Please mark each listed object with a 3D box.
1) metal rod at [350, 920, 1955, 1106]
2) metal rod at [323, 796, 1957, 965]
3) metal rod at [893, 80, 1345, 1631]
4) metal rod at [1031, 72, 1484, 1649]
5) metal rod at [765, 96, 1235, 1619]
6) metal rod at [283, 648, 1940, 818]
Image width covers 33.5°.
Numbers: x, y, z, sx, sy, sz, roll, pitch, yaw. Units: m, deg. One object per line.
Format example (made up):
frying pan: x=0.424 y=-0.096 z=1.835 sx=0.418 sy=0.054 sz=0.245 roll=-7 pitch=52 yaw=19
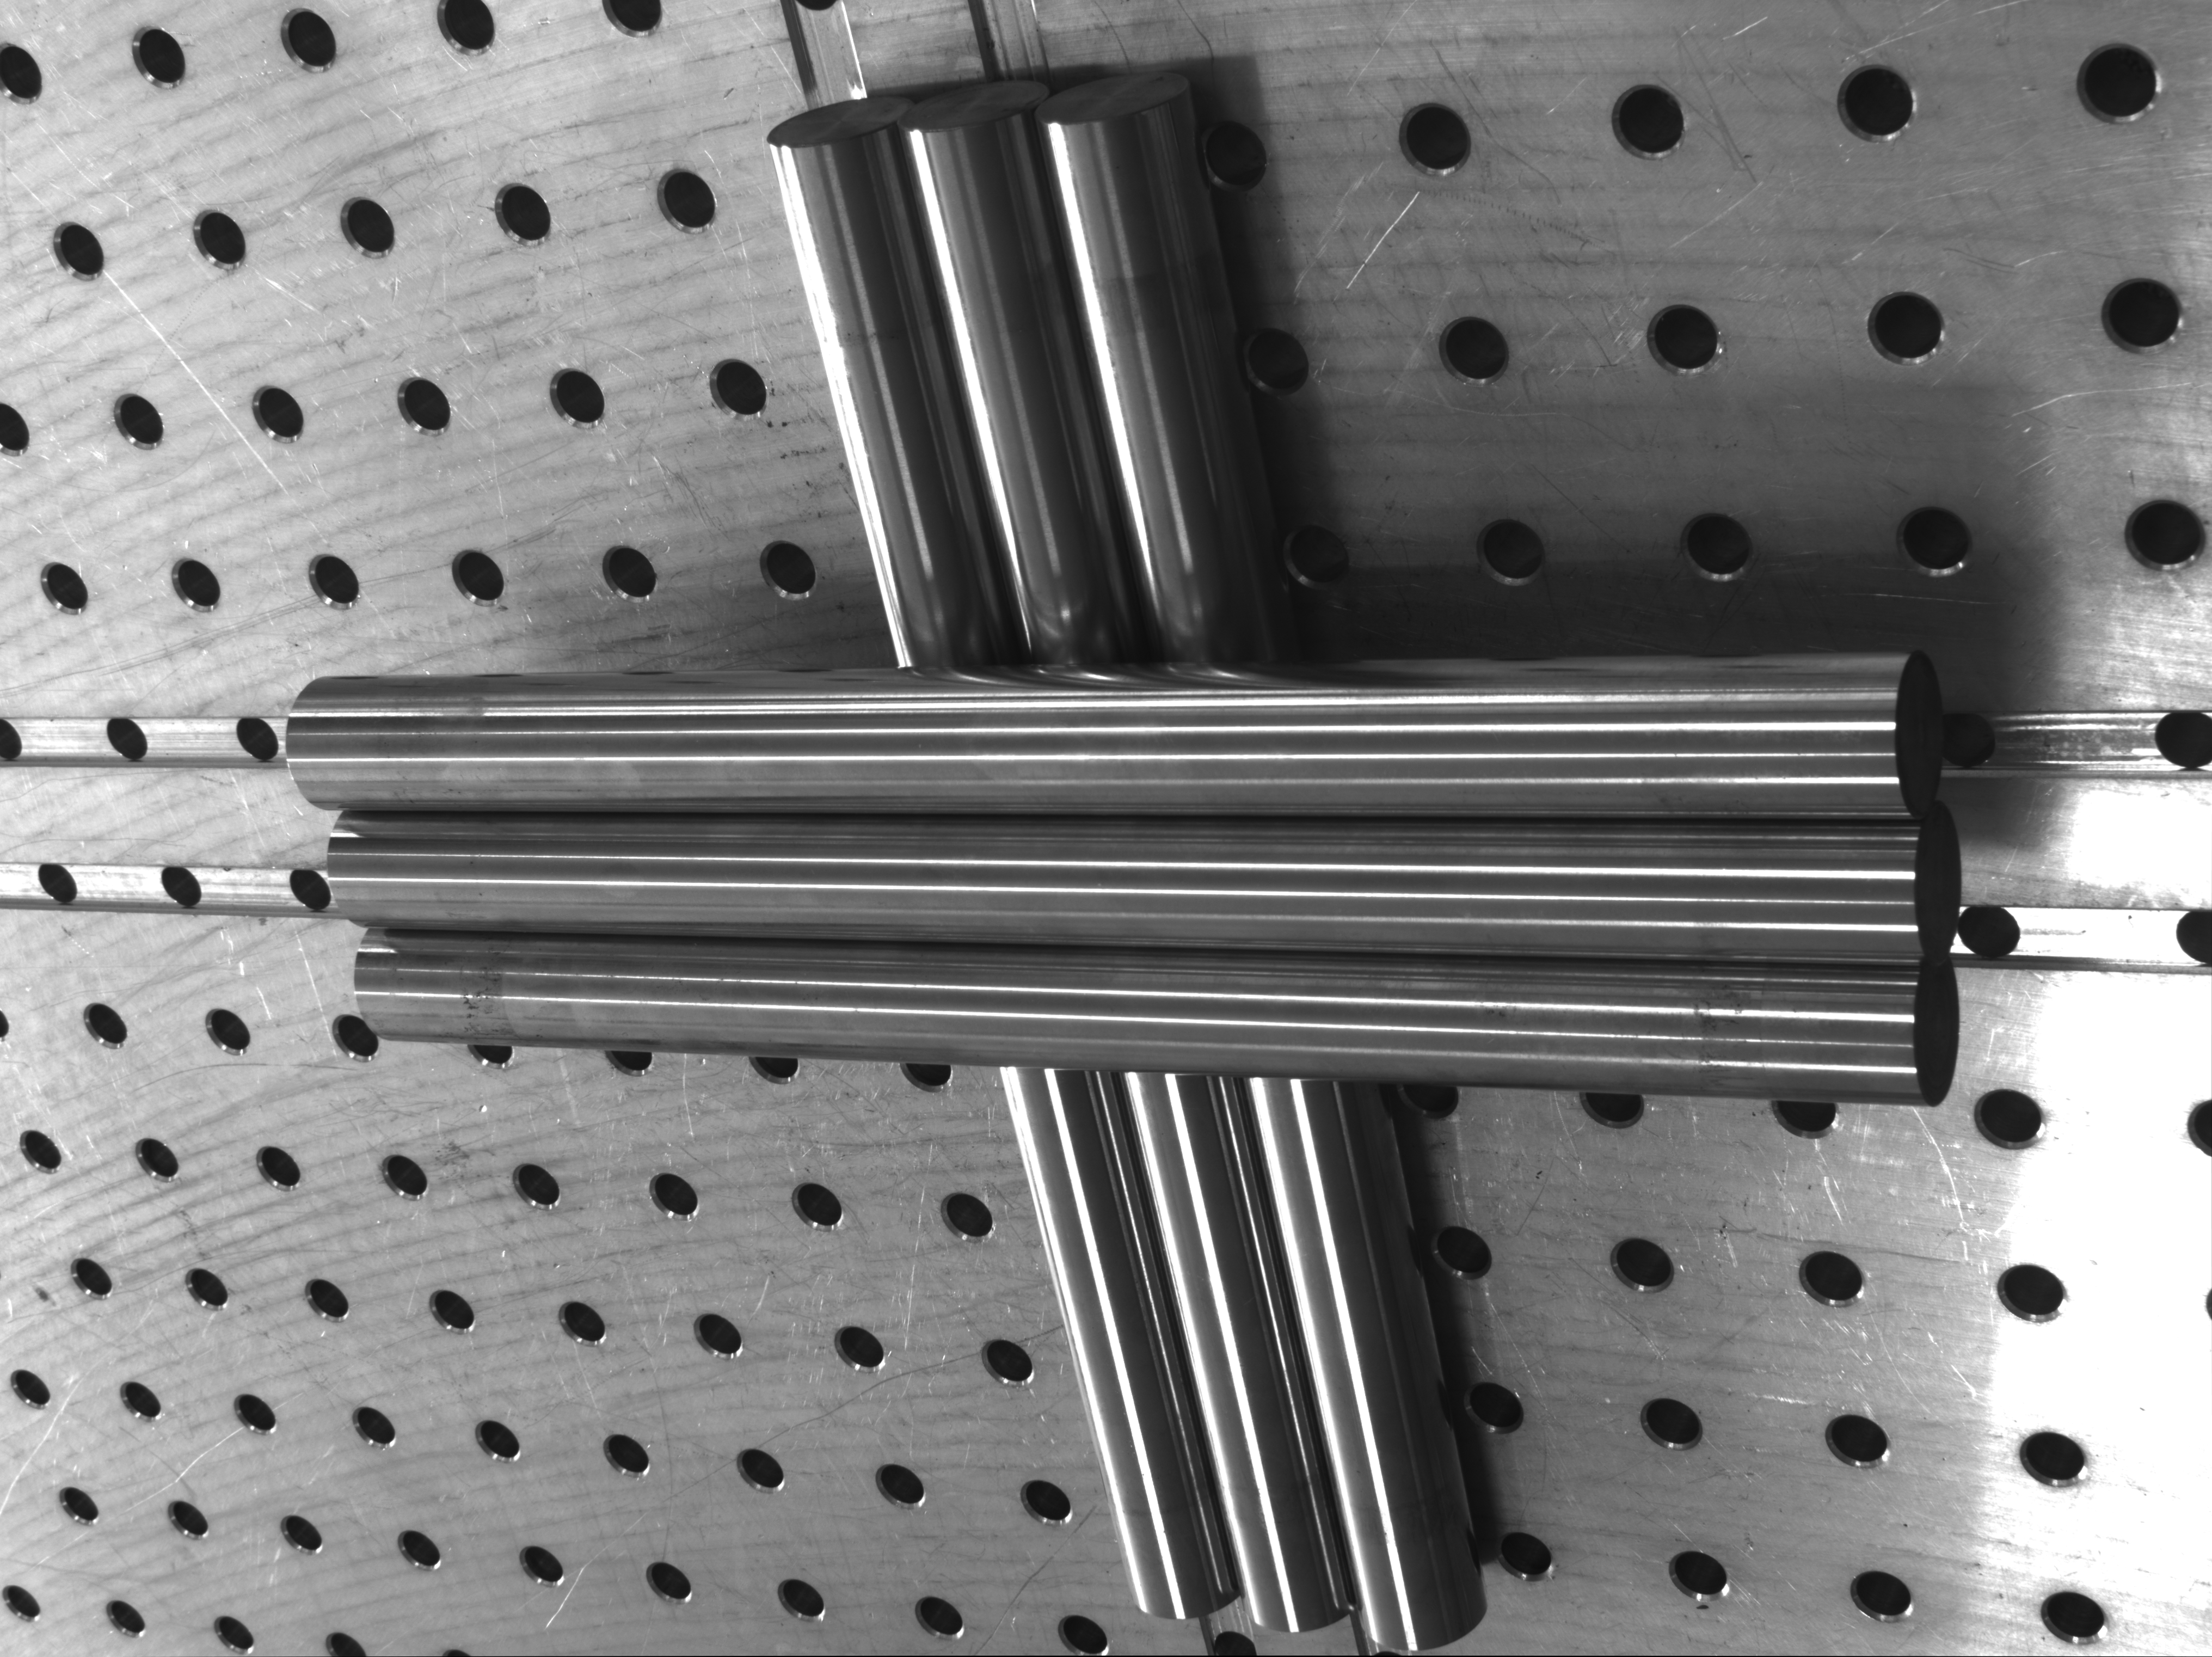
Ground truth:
metal rod: x=-0.005 y=0.029 z=0.634 sx=0.299 sy=0.025 sz=0.025 roll=0 pitch=118 yaw=28
metal rod: x=-0.007 y=0.007 z=0.622 sx=0.299 sy=0.025 sz=0.025 roll=0 pitch=118 yaw=28
metal rod: x=0.008 y=0.016 z=0.652 sx=0.025 sy=0.025 sz=0.300 roll=2 pitch=119 yaw=28
metal rod: x=0.030 y=0.017 z=0.641 sx=0.025 sy=0.025 sz=0.300 roll=2 pitch=119 yaw=28
metal rod: x=-0.013 y=0.017 z=0.664 sx=0.025 sy=0.025 sz=0.300 roll=2 pitch=119 yaw=28
metal rod: x=-0.013 y=-0.015 z=0.611 sx=0.299 sy=0.025 sz=0.025 roll=0 pitch=118 yaw=28
